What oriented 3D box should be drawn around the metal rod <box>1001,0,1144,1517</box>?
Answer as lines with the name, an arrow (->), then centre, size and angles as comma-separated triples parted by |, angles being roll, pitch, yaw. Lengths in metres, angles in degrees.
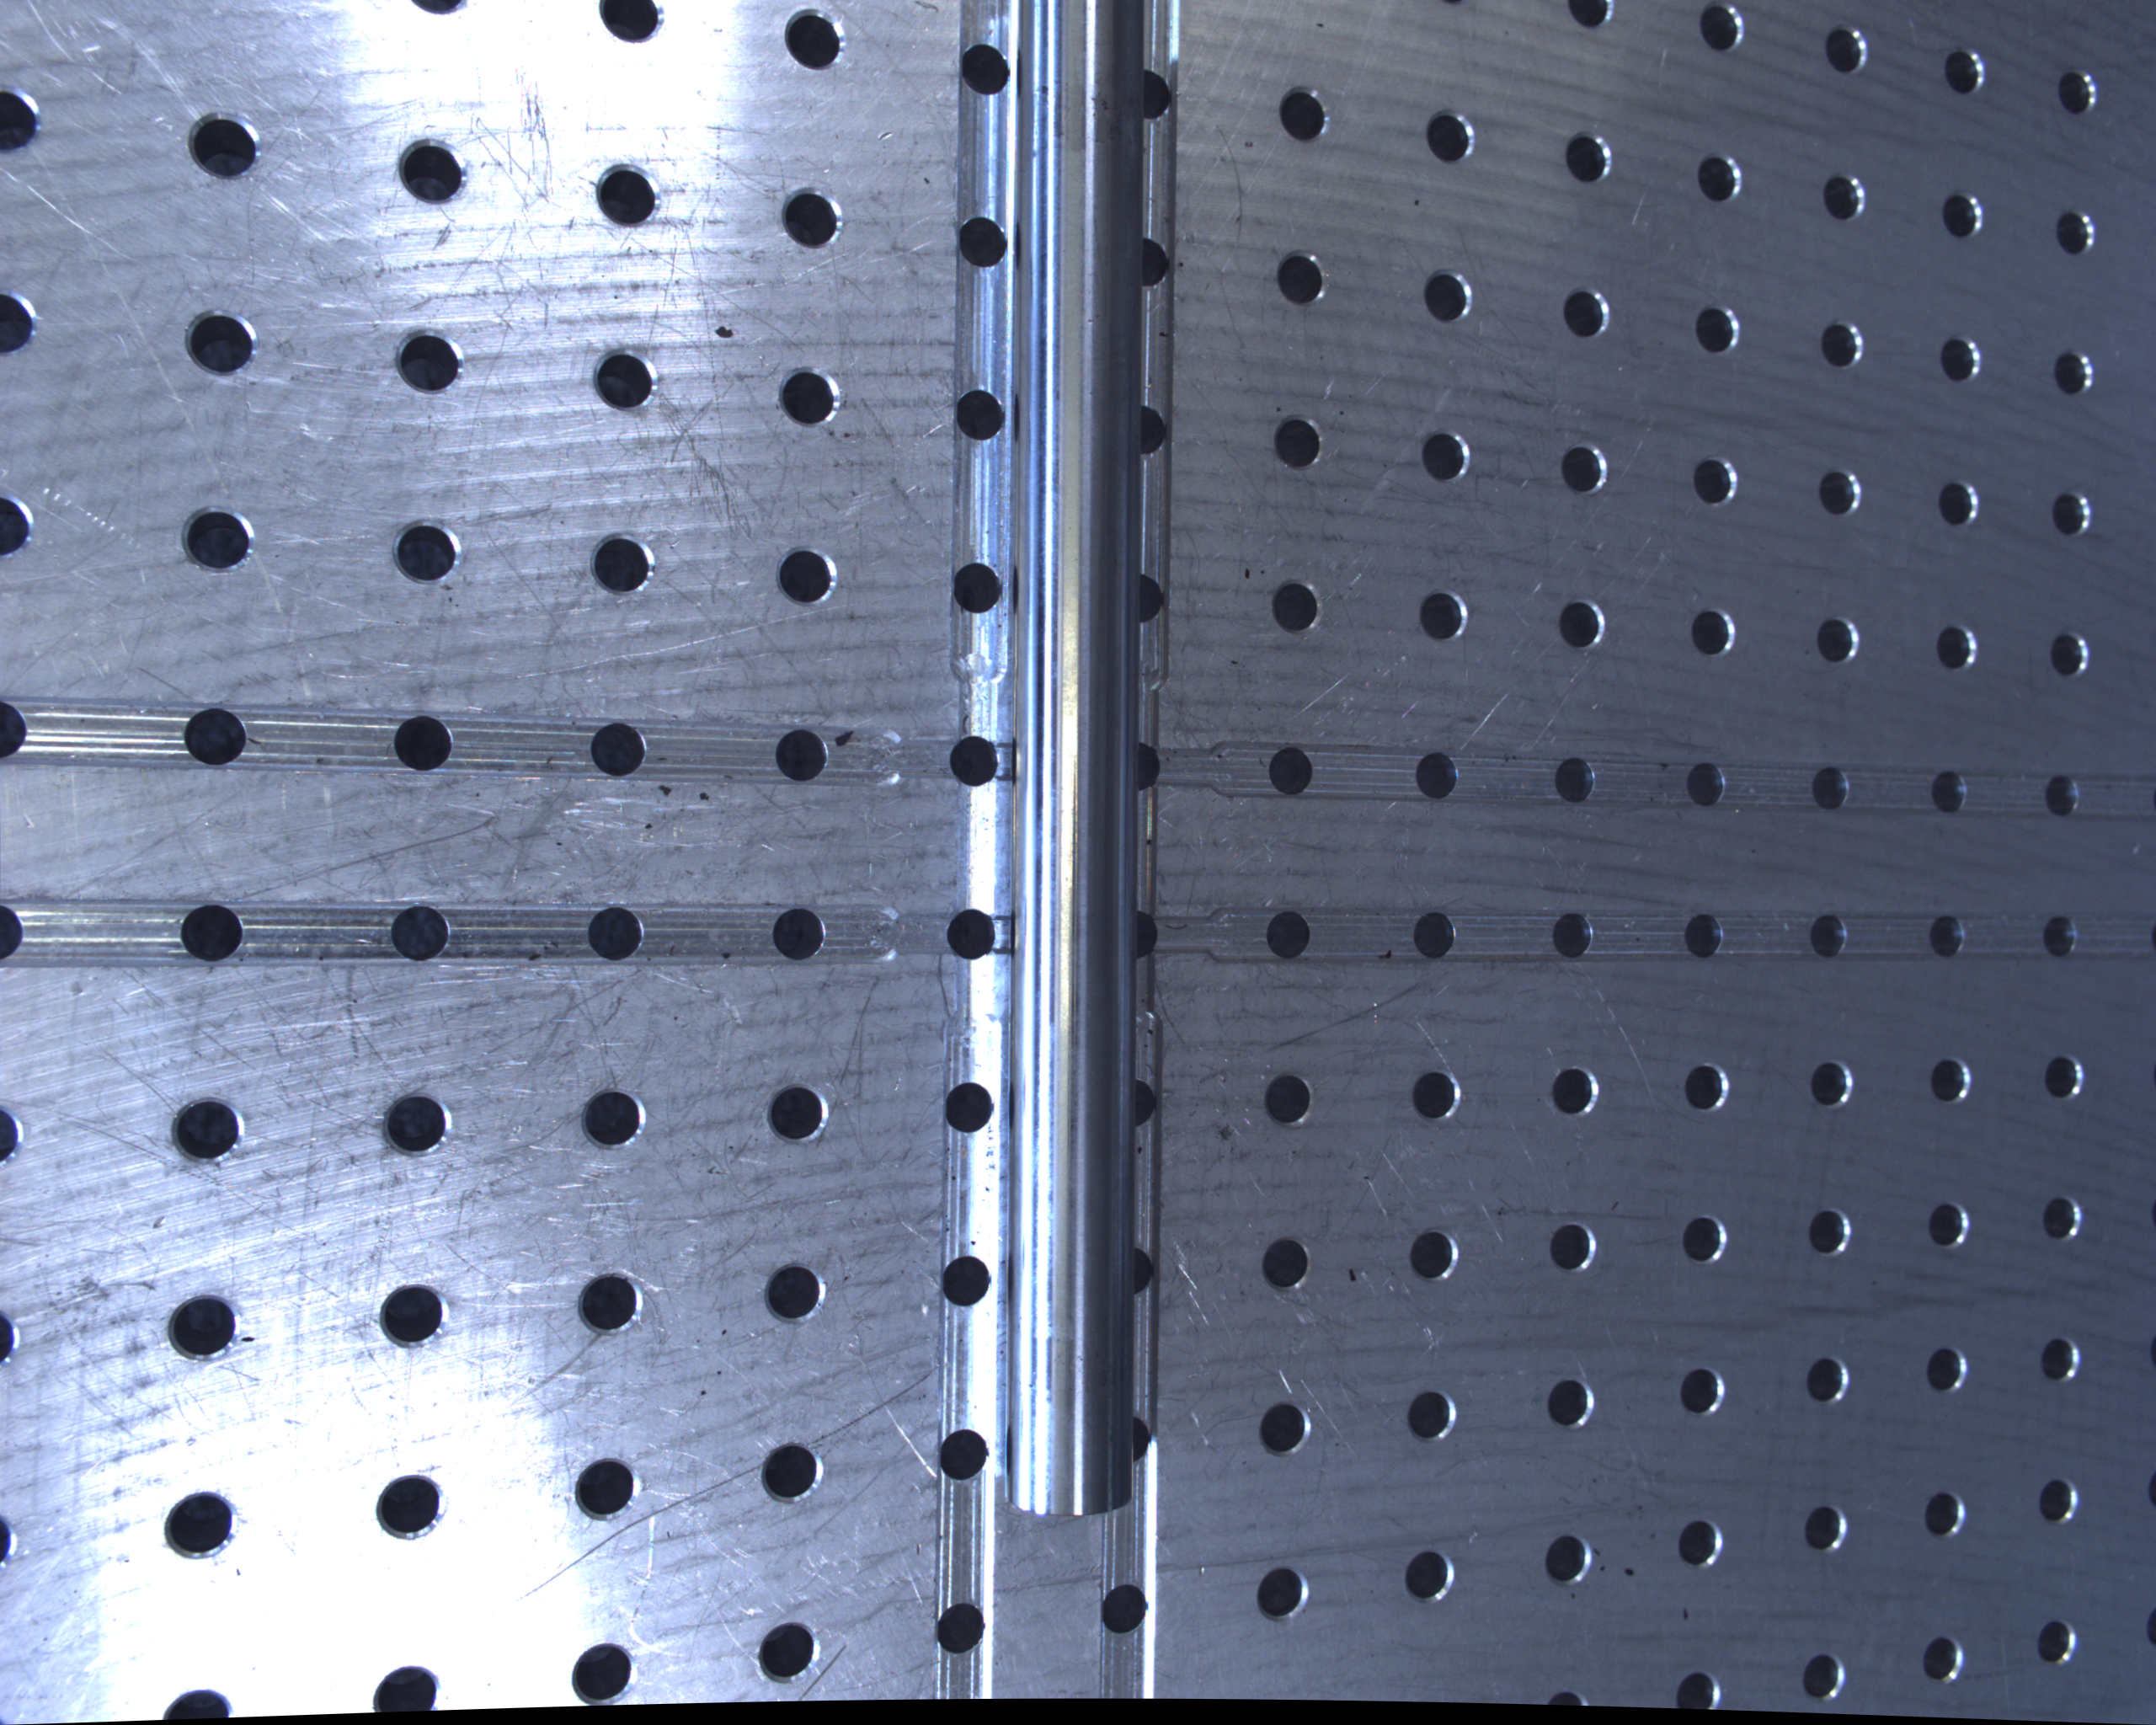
metal rod -> -0.001, -0.024, 0.412 | 0.025, 0.025, 0.298 | 1, 90, -20
